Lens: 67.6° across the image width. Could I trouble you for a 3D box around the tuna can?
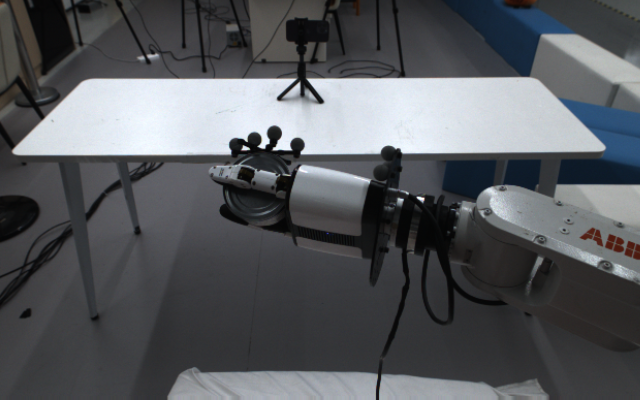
[{"bbox_3d":[-0.070,-0.012,0.586,0.085,0.034,0.085,-3,73,10],"label":"tuna can"}]
